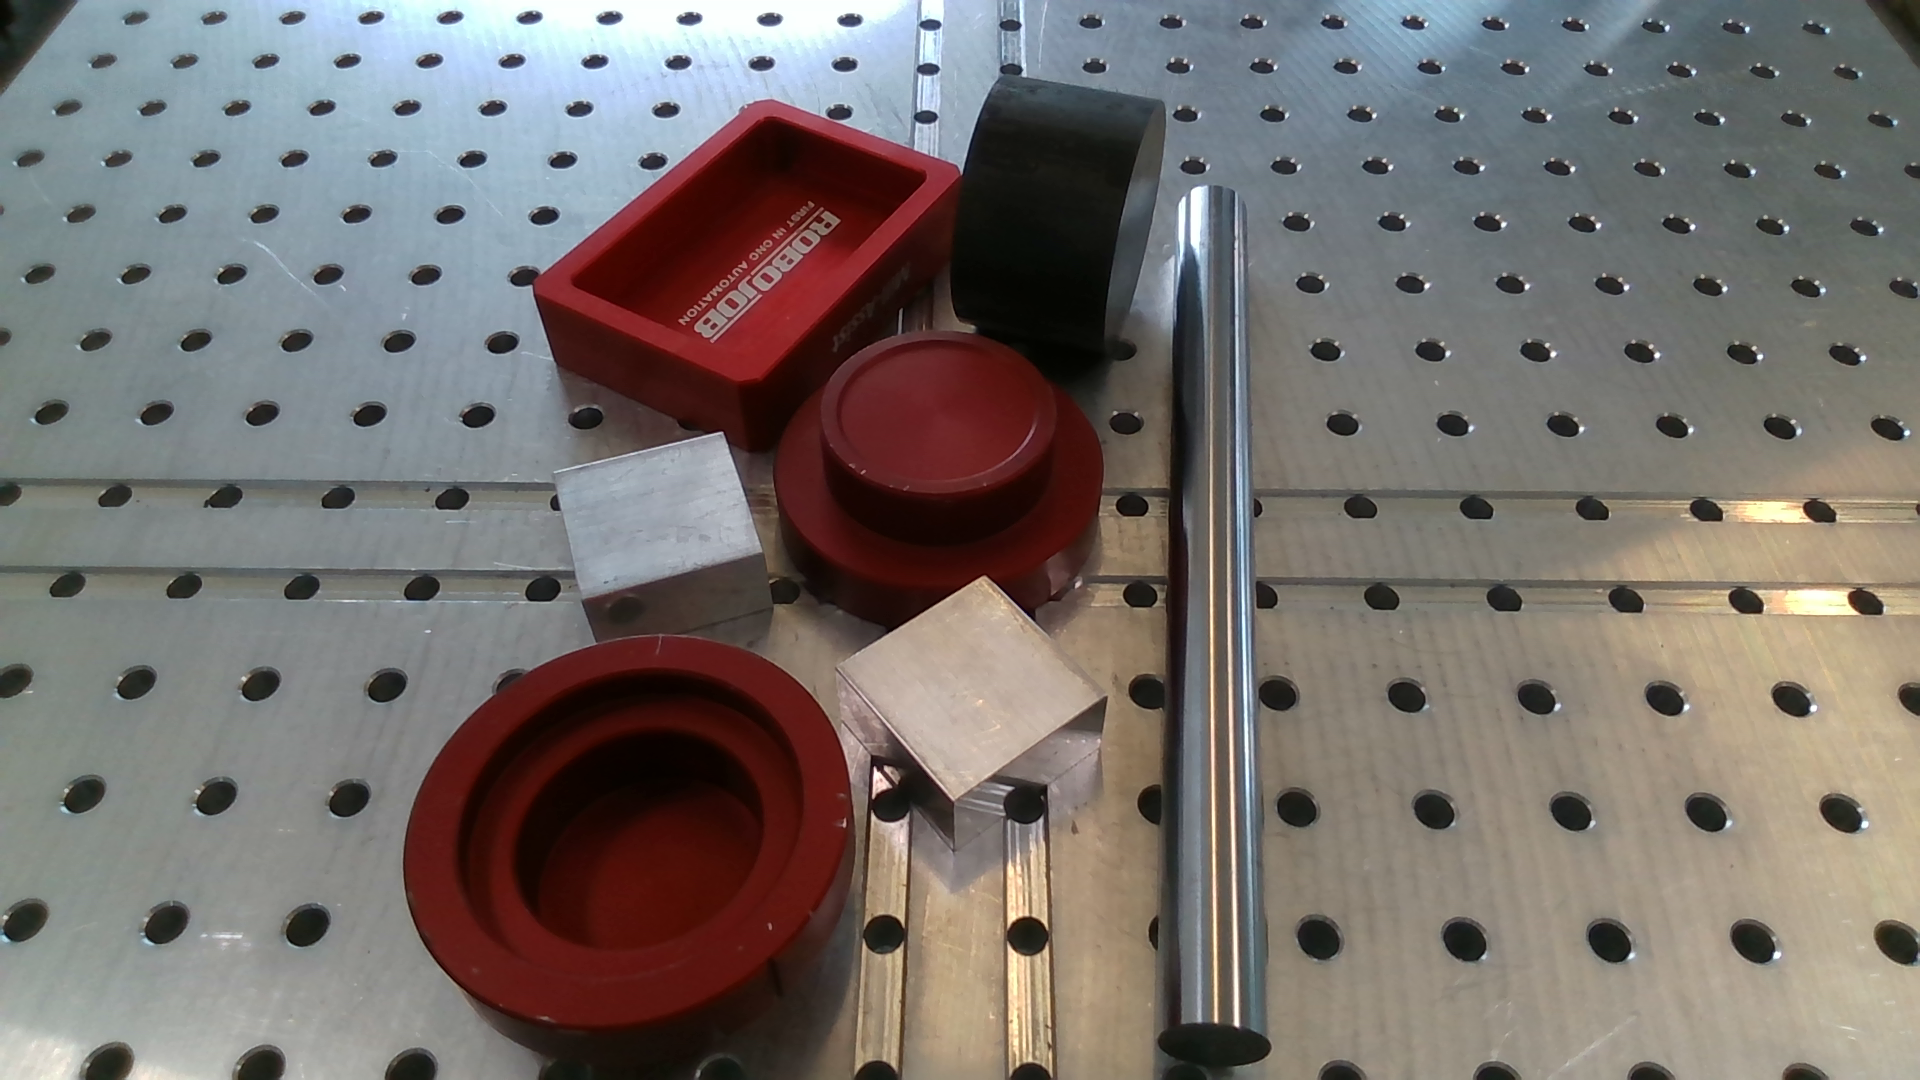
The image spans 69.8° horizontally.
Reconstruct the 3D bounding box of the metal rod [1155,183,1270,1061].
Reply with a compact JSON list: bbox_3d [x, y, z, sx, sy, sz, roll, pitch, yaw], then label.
[{"bbox_3d":[0.073,-0.004,0.399,0.025,0.025,0.299,5,50,4],"label":"metal rod"}]

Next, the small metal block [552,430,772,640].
[{"bbox_3d":[-0.086,0.000,0.397,0.050,0.025,0.050,-15,52,-12],"label":"small metal block"}]

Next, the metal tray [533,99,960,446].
[{"bbox_3d":[-0.069,-0.097,0.474,0.090,0.030,0.130,24,54,19],"label":"metal tray"}]

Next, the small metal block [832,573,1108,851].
[{"bbox_3d":[0.002,0.044,0.361,0.050,0.025,0.050,-31,57,-23],"label":"small metal block"}]

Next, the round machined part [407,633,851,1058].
[{"bbox_3d":[-0.074,0.073,0.325,0.098,0.042,0.098,0,50,0],"label":"round machined part"}]

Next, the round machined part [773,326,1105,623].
[{"bbox_3d":[-0.006,-0.025,0.406,0.098,0.042,0.098,2,50,-2],"label":"round machined part"}]

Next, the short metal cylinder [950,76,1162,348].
[{"bbox_3d":[0.033,-0.106,0.450,0.050,0.080,0.080,14,52,11],"label":"short metal cylinder"}]
